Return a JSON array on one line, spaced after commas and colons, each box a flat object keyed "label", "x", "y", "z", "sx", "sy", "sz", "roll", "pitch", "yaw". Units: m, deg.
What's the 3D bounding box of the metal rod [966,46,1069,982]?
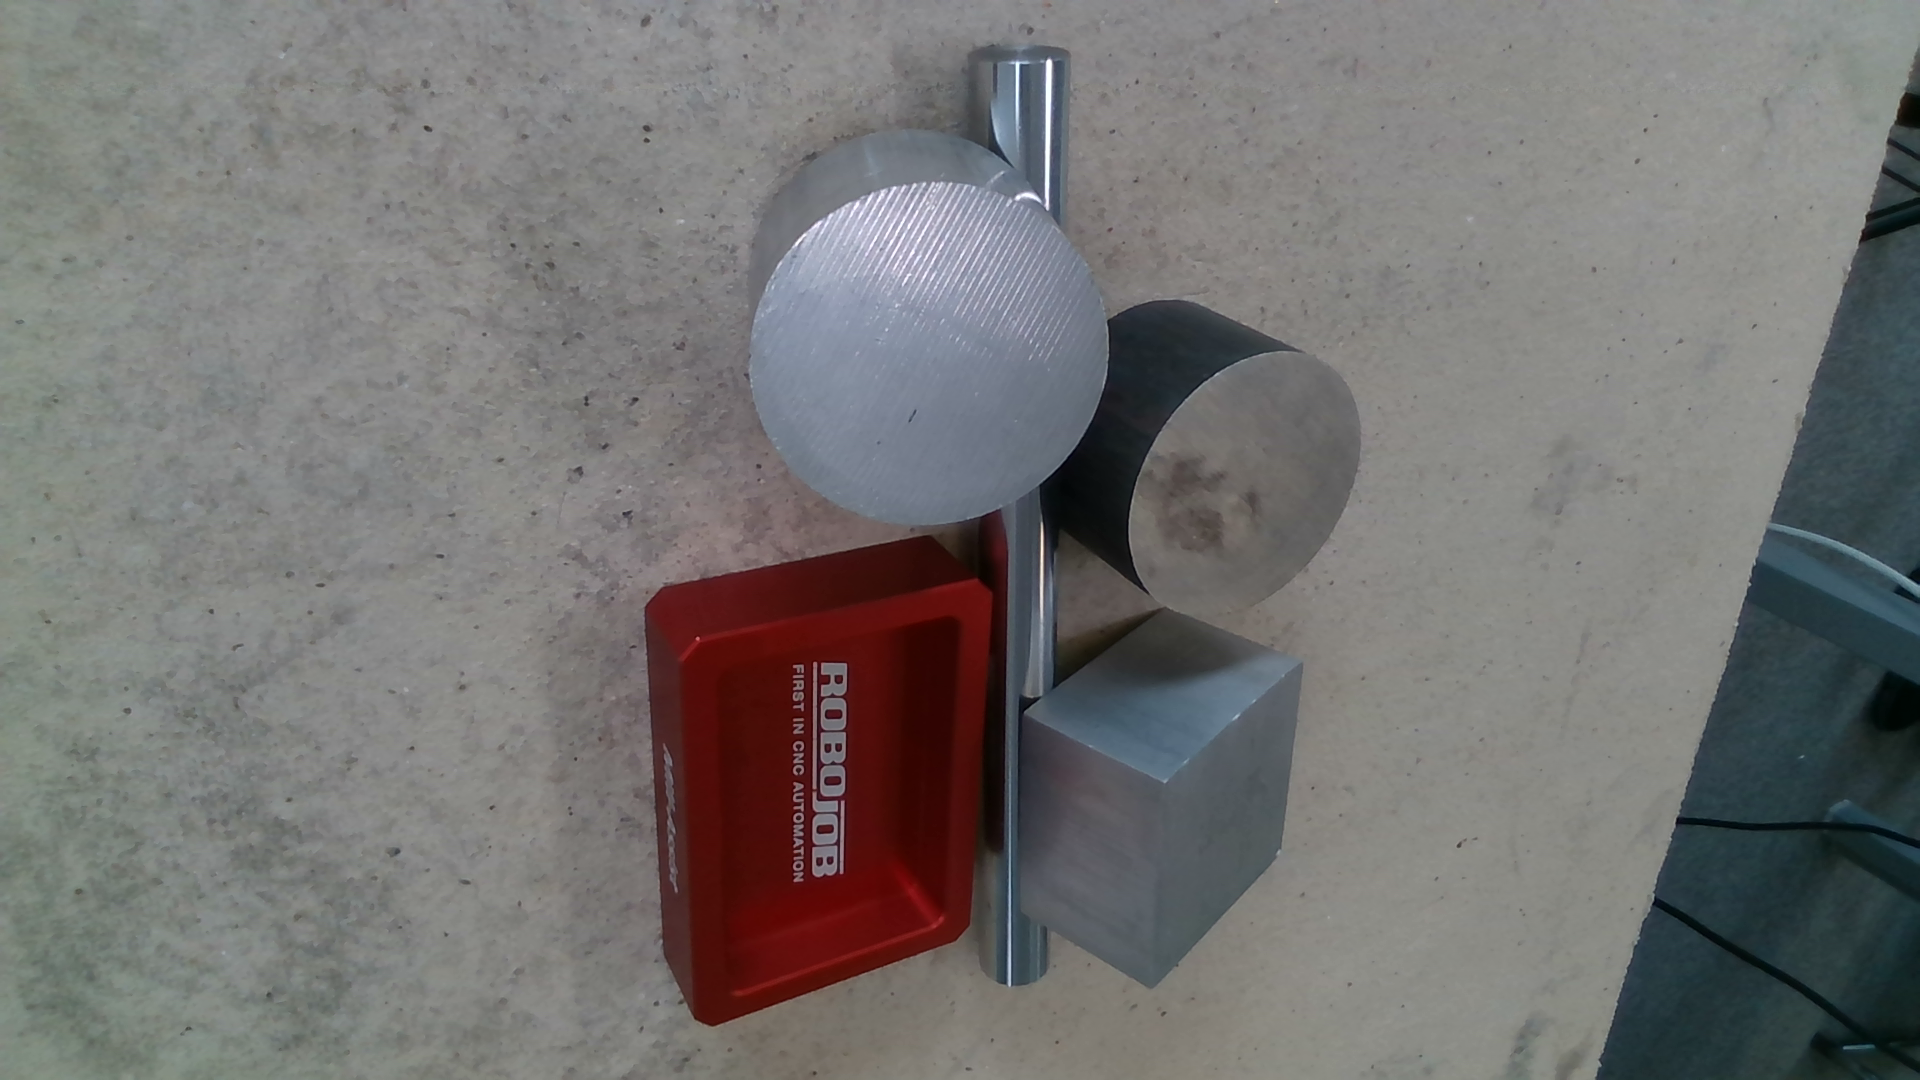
[{"label": "metal rod", "x": 0.016, "y": 0.013, "z": 0.408, "sx": 0.025, "sy": 0.025, "sz": 0.301, "roll": -15, "pitch": 122, "yaw": -24}]

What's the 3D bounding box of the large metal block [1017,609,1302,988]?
[{"label": "large metal block", "x": 0.063, "y": 0.079, "z": 0.439, "sx": 0.080, "sy": 0.050, "sz": 0.080, "roll": -30, "pitch": 130, "yaw": -42}]

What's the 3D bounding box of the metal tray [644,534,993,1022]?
[{"label": "metal tray", "x": -0.040, "y": 0.069, "z": 0.399, "sx": 0.090, "sy": 0.030, "sz": 0.130, "roll": -11, "pitch": 120, "yaw": -26}]

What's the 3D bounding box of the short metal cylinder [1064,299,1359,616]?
[{"label": "short metal cylinder", "x": 0.069, "y": -0.025, "z": 0.403, "sx": 0.080, "sy": 0.050, "sz": 0.080, "roll": -15, "pitch": 122, "yaw": -25}]

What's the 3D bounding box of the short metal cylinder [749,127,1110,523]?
[{"label": "short metal cylinder", "x": -0.009, "y": -0.051, "z": 0.325, "sx": 0.080, "sy": 0.050, "sz": 0.080, "roll": -4, "pitch": 119, "yaw": -7}]
